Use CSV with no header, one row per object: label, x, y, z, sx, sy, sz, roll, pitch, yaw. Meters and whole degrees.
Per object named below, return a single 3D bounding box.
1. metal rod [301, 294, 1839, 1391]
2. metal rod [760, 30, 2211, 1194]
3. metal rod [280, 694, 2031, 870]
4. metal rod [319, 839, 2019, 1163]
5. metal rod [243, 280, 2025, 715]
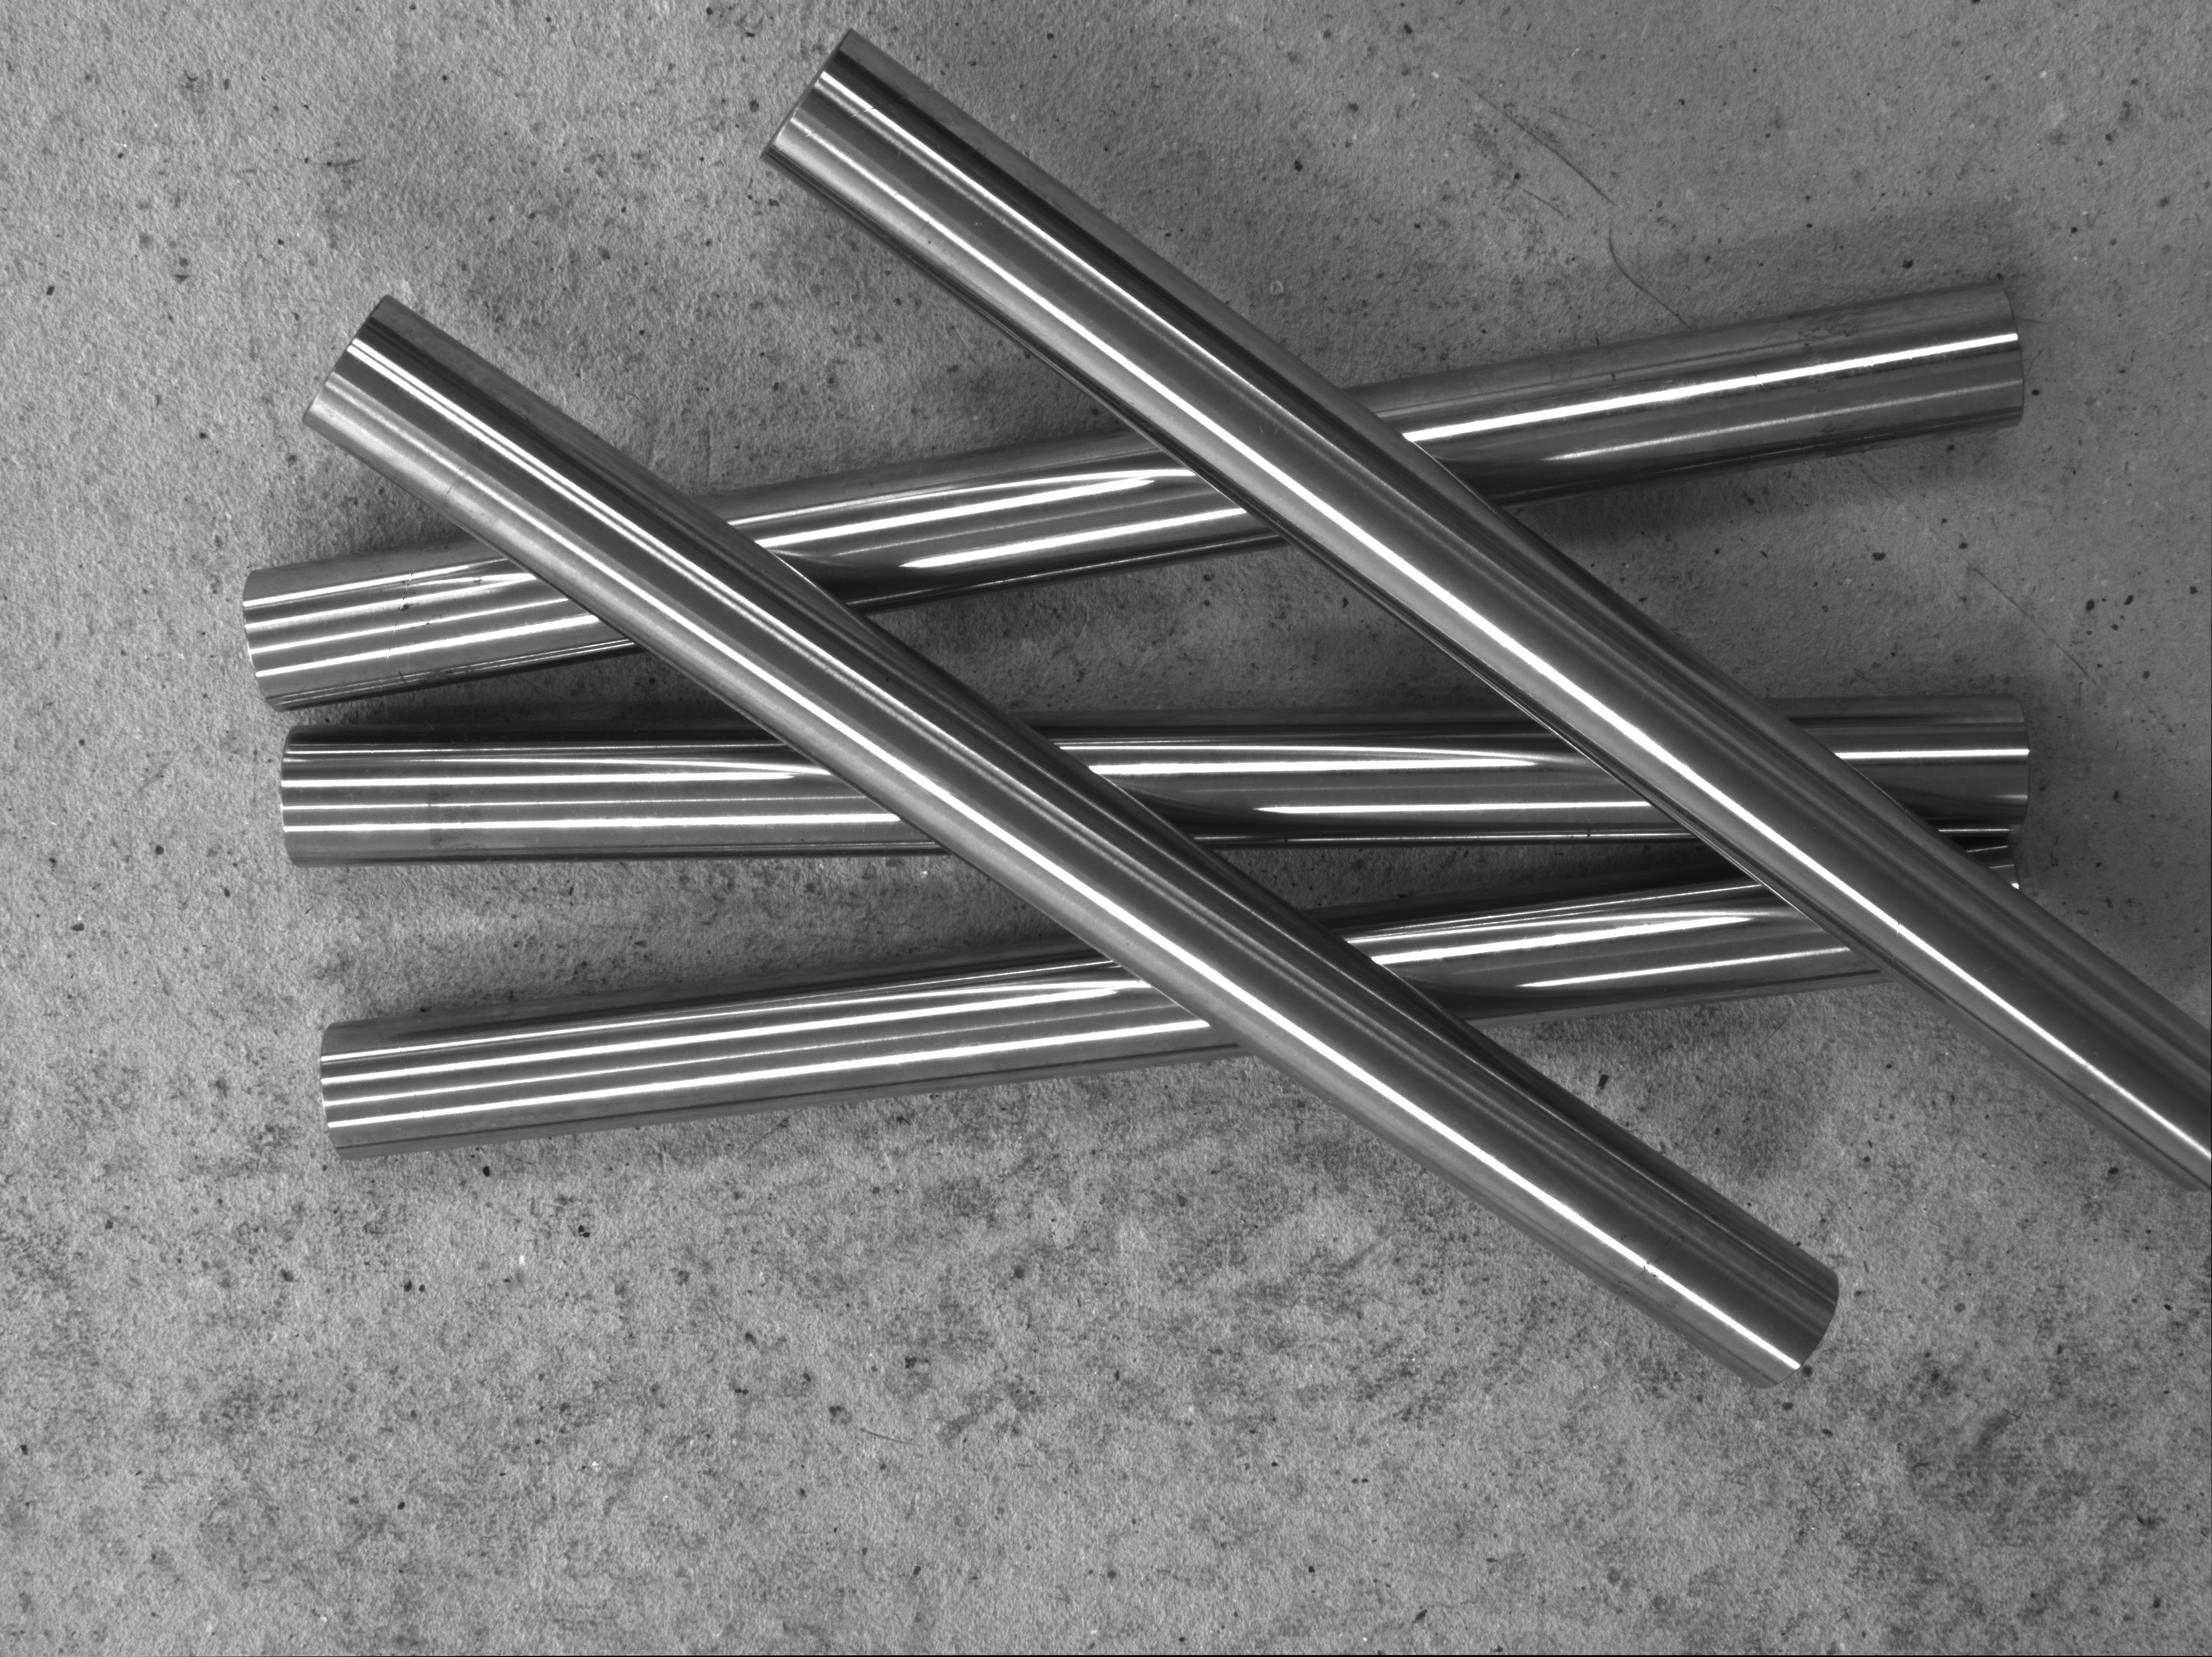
metal rod,0.000,0.007,0.619,0.300,0.025,0.025,34,107,-12
metal rod,0.074,-0.031,0.606,0.300,0.025,0.025,35,106,-12
metal rod,0.009,-0.008,0.641,0.300,0.025,0.025,-1,110,0
metal rod,0.011,0.030,0.654,0.300,0.025,0.025,-7,110,2
metal rod,0.003,-0.056,0.623,0.300,0.025,0.025,-9,110,3
